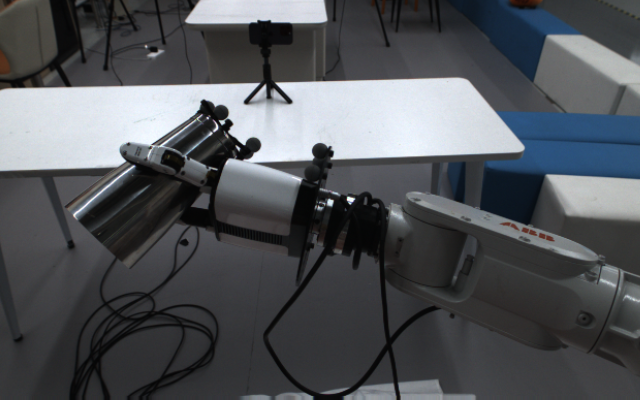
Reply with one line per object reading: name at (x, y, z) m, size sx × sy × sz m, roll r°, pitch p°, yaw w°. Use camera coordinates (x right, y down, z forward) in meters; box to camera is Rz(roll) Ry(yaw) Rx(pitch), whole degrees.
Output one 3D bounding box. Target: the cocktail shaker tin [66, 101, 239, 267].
cocktail shaker tin at (-0.174, -0.022, 0.529) m, size 0.093 × 0.093 × 0.170 m, roll 32°, pitch 66°, yaw 36°
